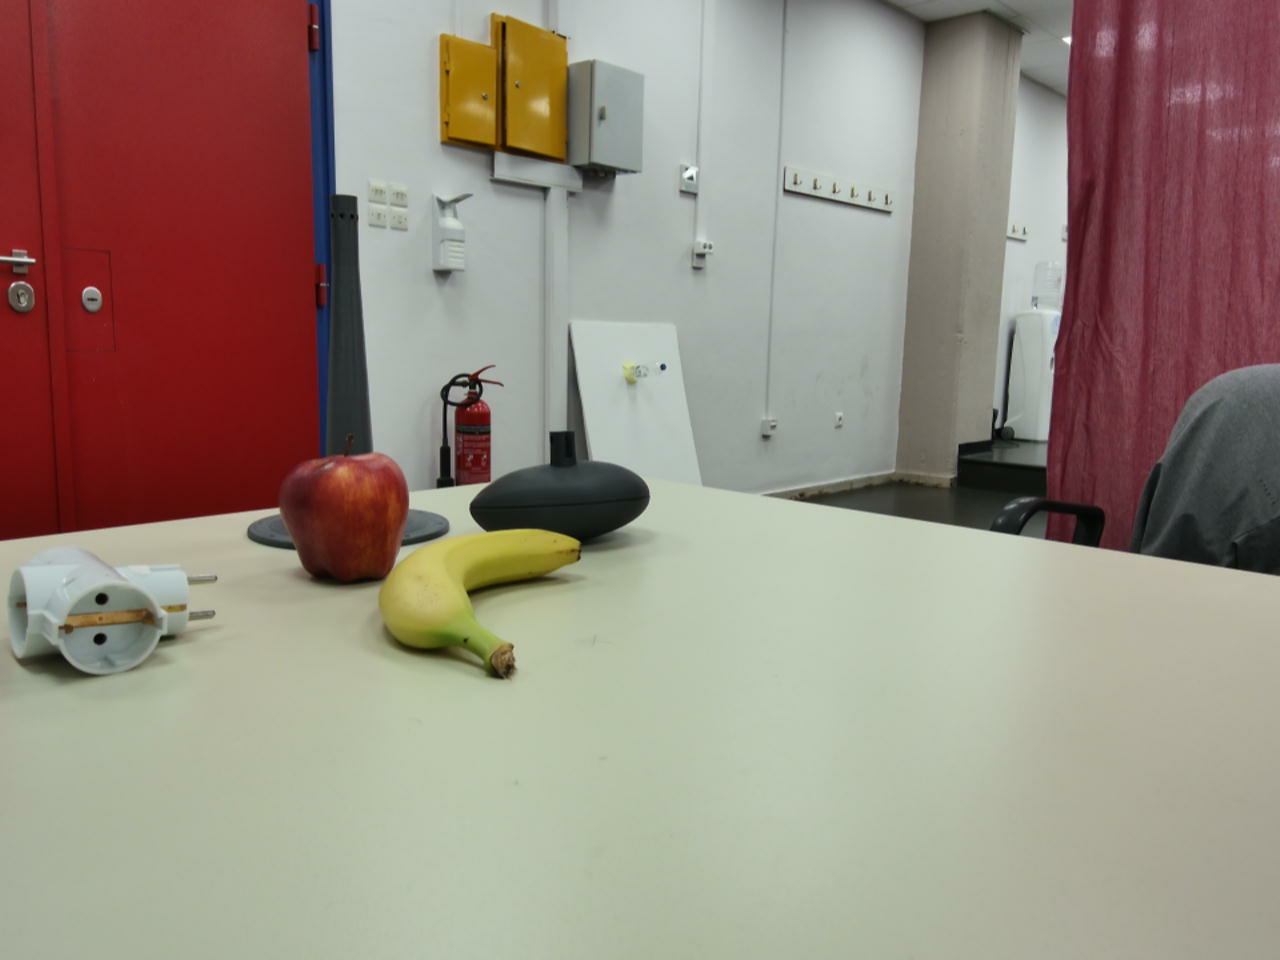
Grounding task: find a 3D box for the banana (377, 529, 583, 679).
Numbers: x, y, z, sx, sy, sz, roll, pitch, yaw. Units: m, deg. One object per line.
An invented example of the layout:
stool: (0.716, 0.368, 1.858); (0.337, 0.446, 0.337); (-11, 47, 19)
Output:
banana: (-0.094, 0.059, 0.561); (0.094, 0.041, 0.196); (2, 7, 7)
